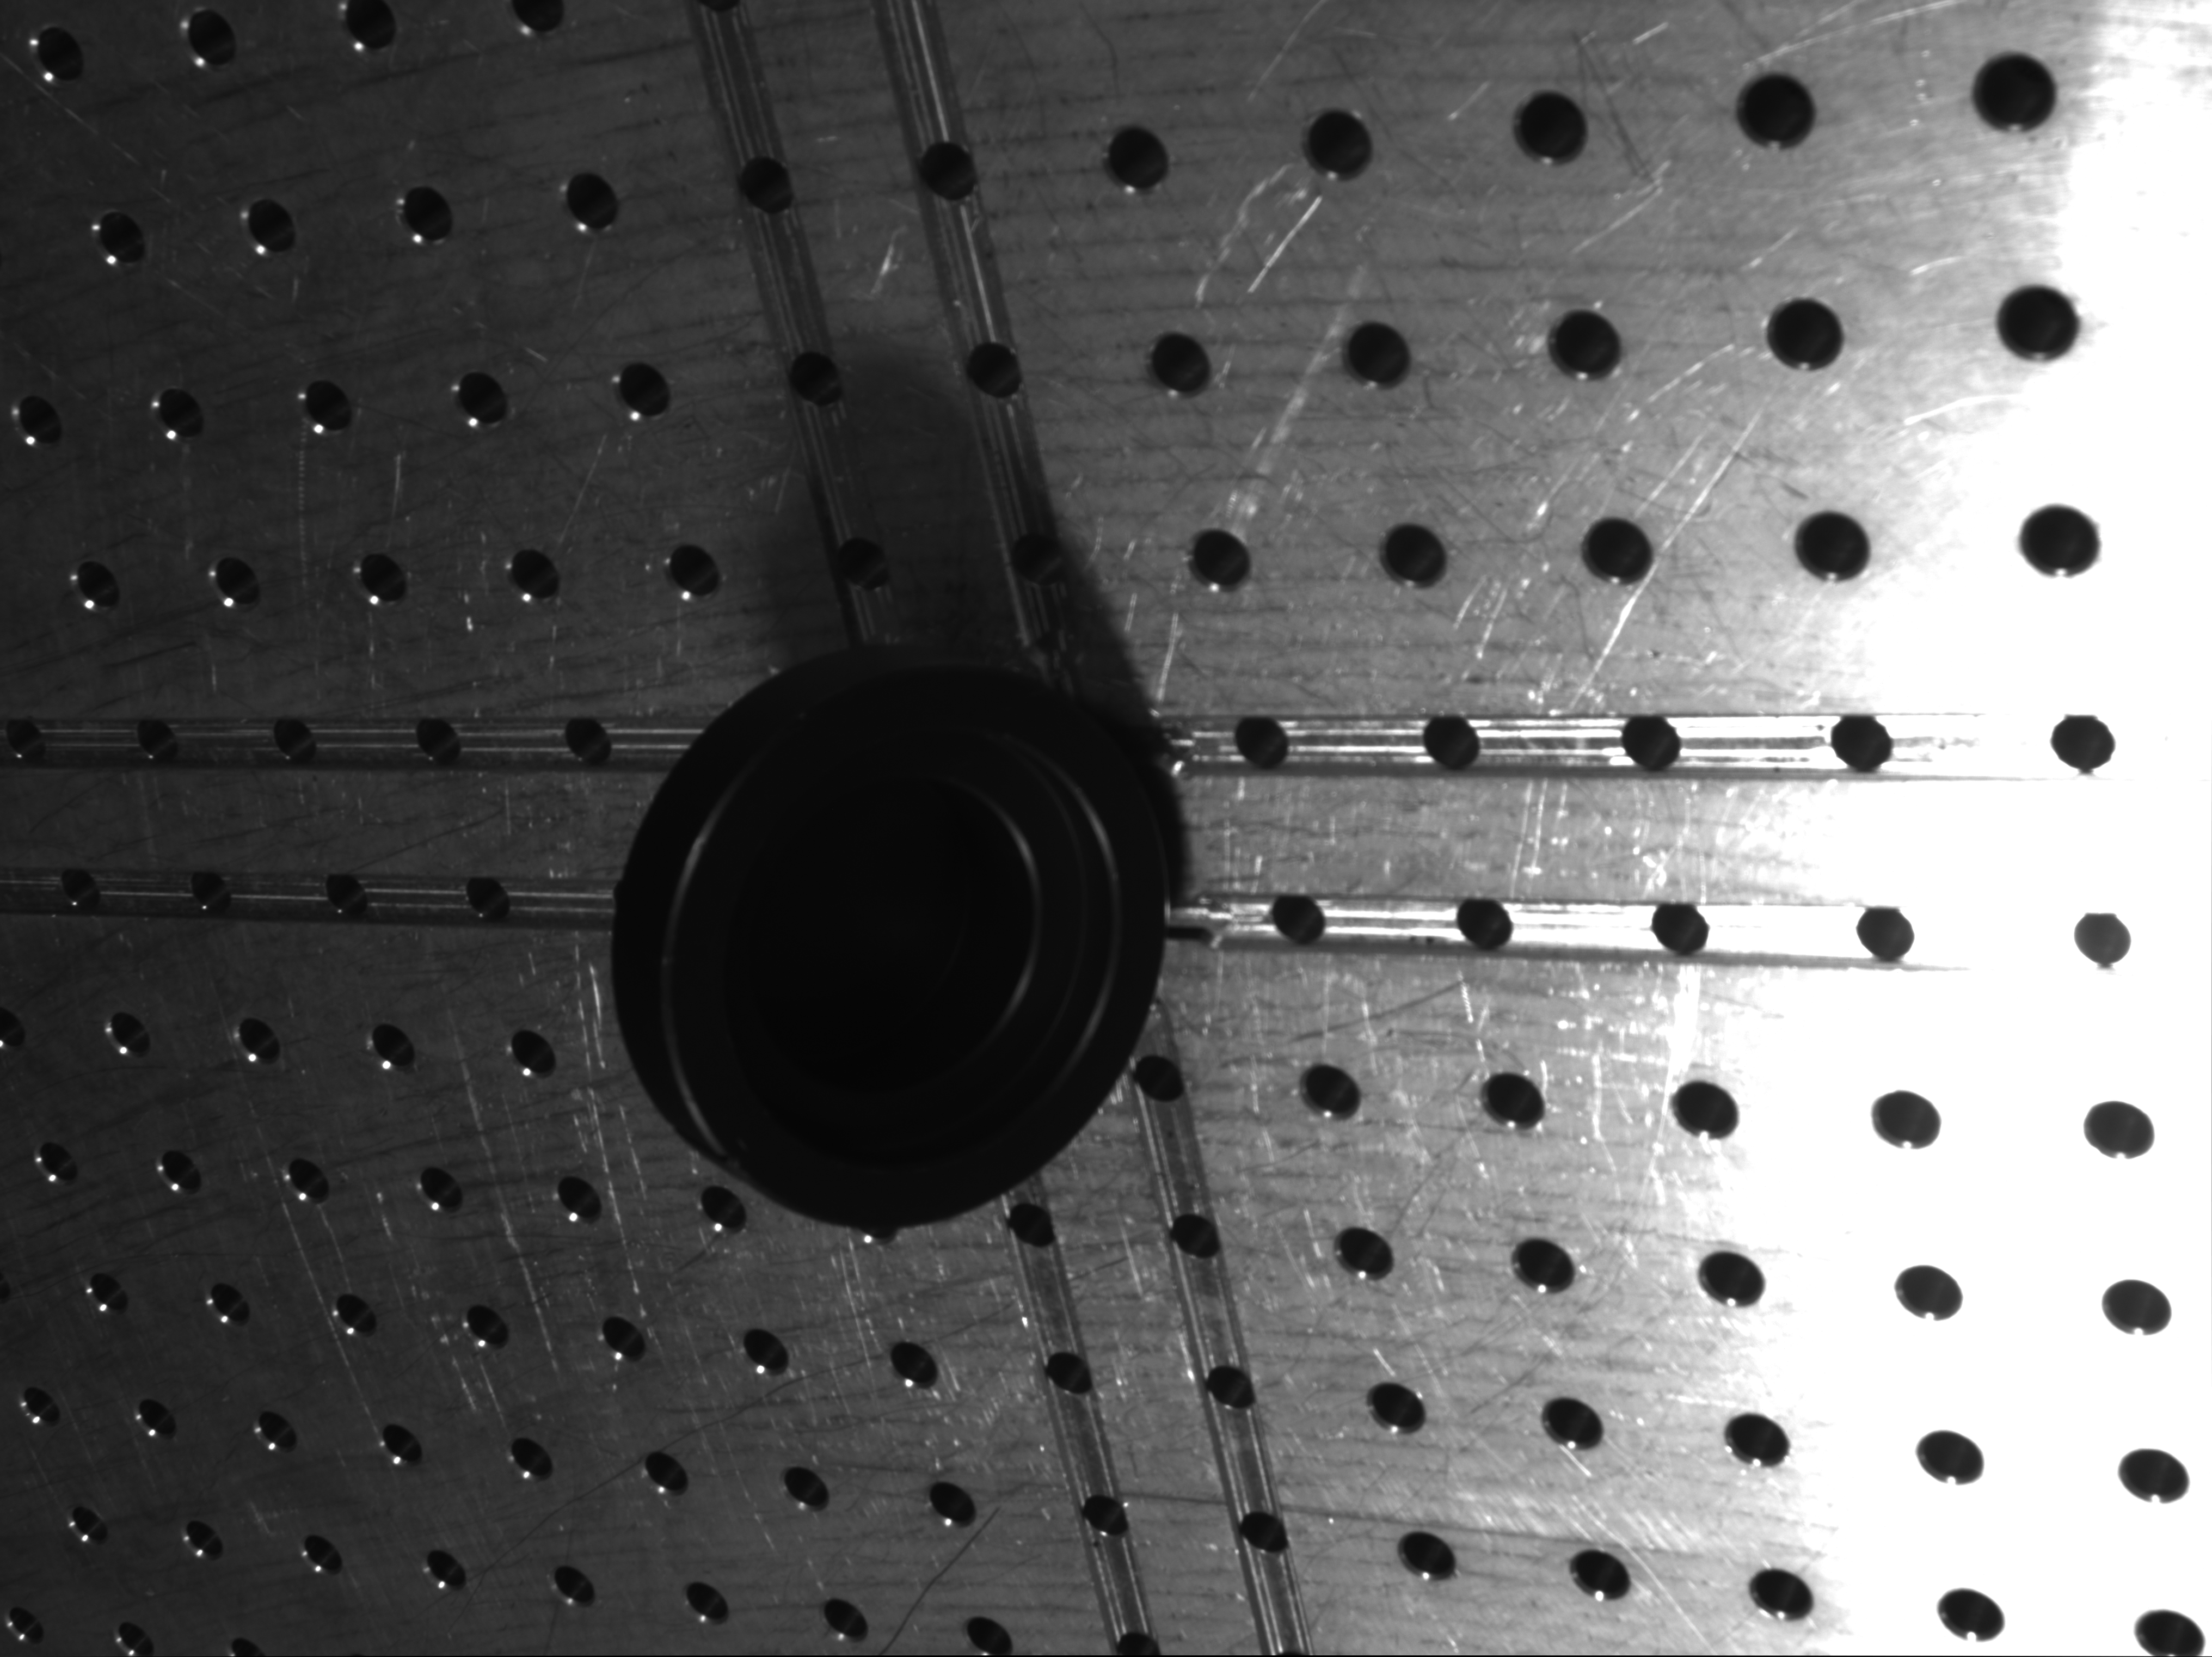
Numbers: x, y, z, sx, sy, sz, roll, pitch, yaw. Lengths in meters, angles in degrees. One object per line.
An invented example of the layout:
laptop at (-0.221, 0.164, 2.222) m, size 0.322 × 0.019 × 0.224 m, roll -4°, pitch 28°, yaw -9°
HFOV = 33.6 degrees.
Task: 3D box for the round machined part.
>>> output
round machined part at (-0.044, 0.017, 0.631) m, size 0.042 × 0.098 × 0.098 m, roll 21°, pitch 133°, yaw 54°
